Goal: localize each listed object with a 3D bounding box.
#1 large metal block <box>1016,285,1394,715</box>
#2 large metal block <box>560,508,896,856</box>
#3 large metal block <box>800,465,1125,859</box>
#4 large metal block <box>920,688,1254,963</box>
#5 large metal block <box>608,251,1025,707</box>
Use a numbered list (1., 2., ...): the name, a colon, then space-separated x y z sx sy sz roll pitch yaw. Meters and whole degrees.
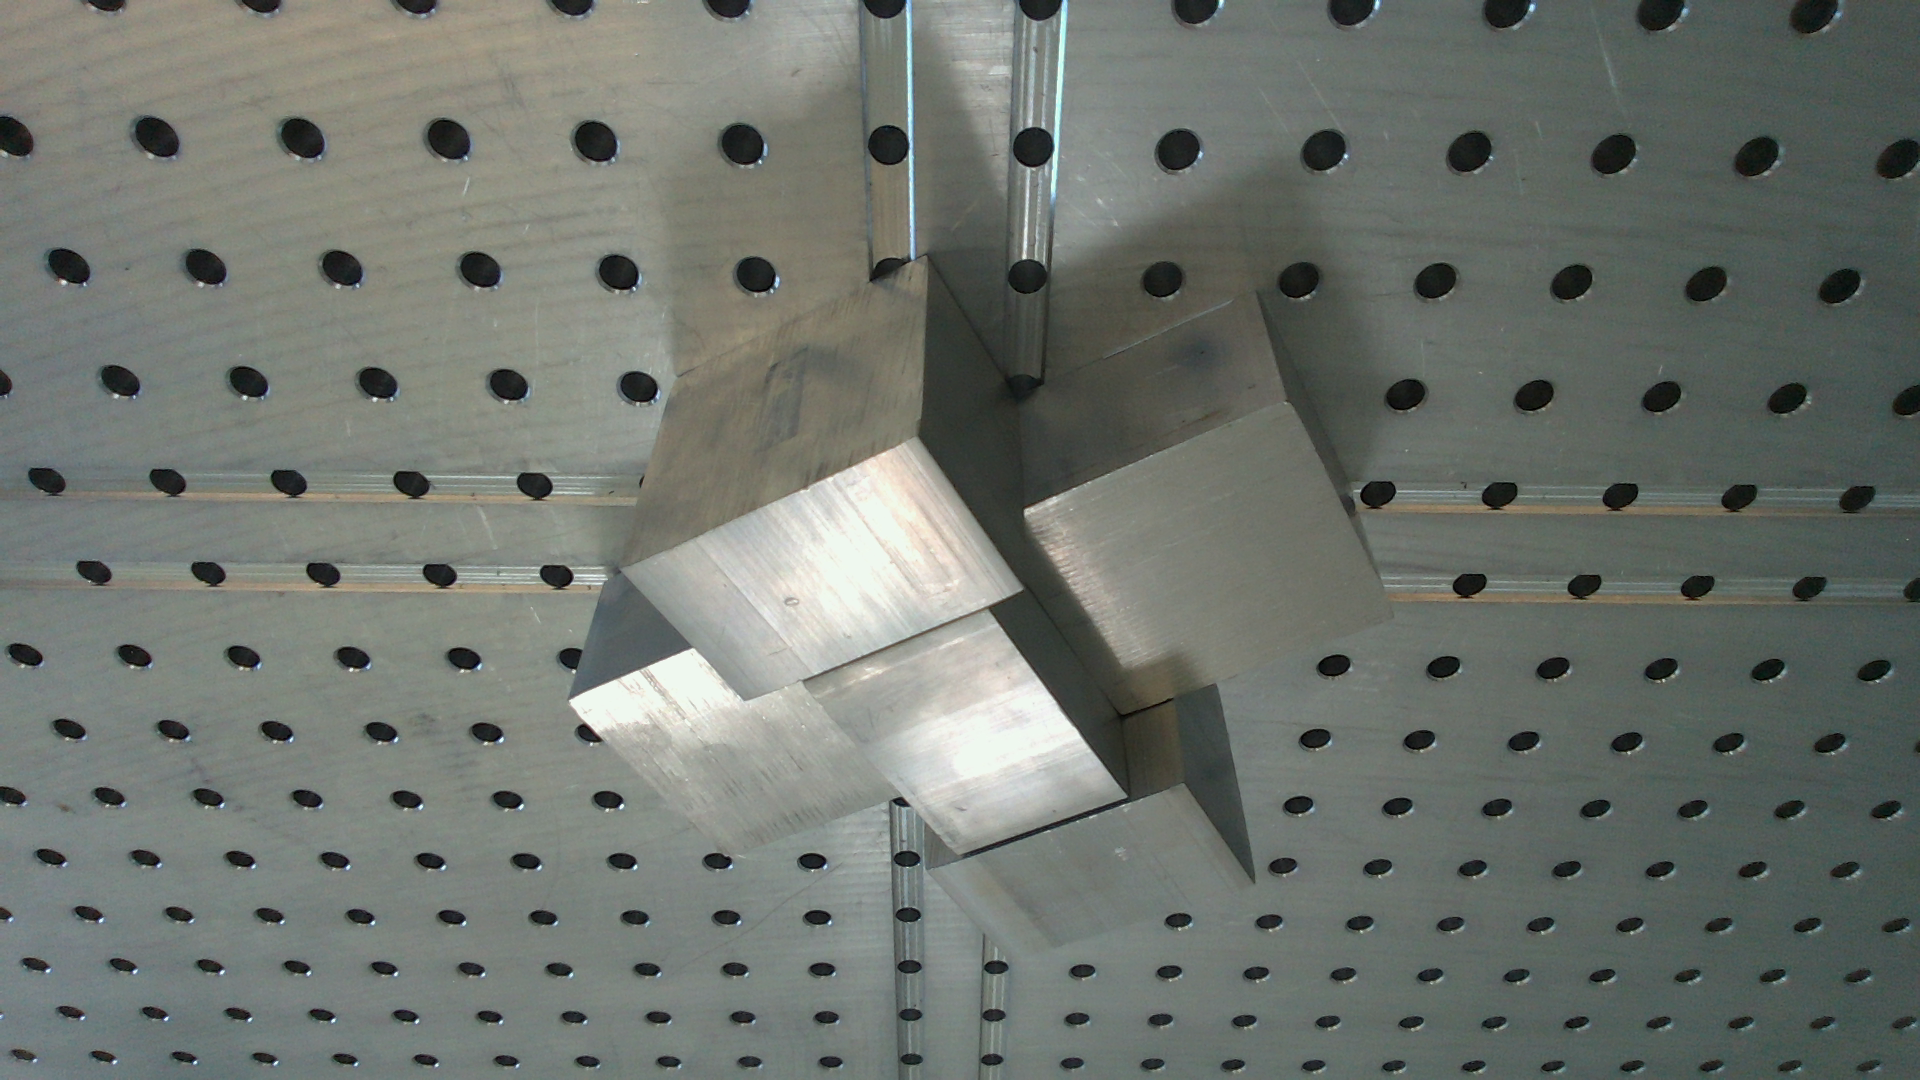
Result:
1. large metal block: 0.060 -0.008 0.370 0.080 0.050 0.080 -23 129 18
2. large metal block: -0.057 0.041 0.412 0.080 0.050 0.080 -21 127 17
3. large metal block: 0.002 0.026 0.380 0.050 0.080 0.080 -23 127 18
4. large metal block: 0.035 0.069 0.416 0.080 0.080 0.050 -23 126 18
5. large metal block: -0.032 -0.016 0.343 0.080 0.080 0.050 -22 126 18
